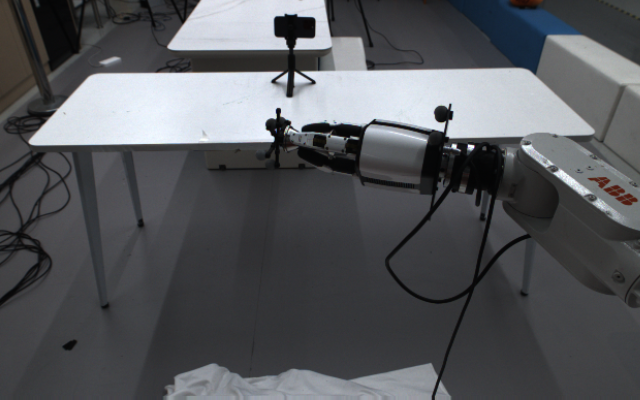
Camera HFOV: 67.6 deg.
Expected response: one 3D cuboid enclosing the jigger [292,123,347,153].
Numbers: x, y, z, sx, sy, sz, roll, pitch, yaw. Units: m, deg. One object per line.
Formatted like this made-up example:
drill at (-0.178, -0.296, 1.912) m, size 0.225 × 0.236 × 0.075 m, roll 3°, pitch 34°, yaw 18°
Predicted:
jigger at (-0.008, -0.088, 0.698) m, size 0.071 × 0.043 × 0.043 m, roll 8°, pitch 35°, yaw 16°
